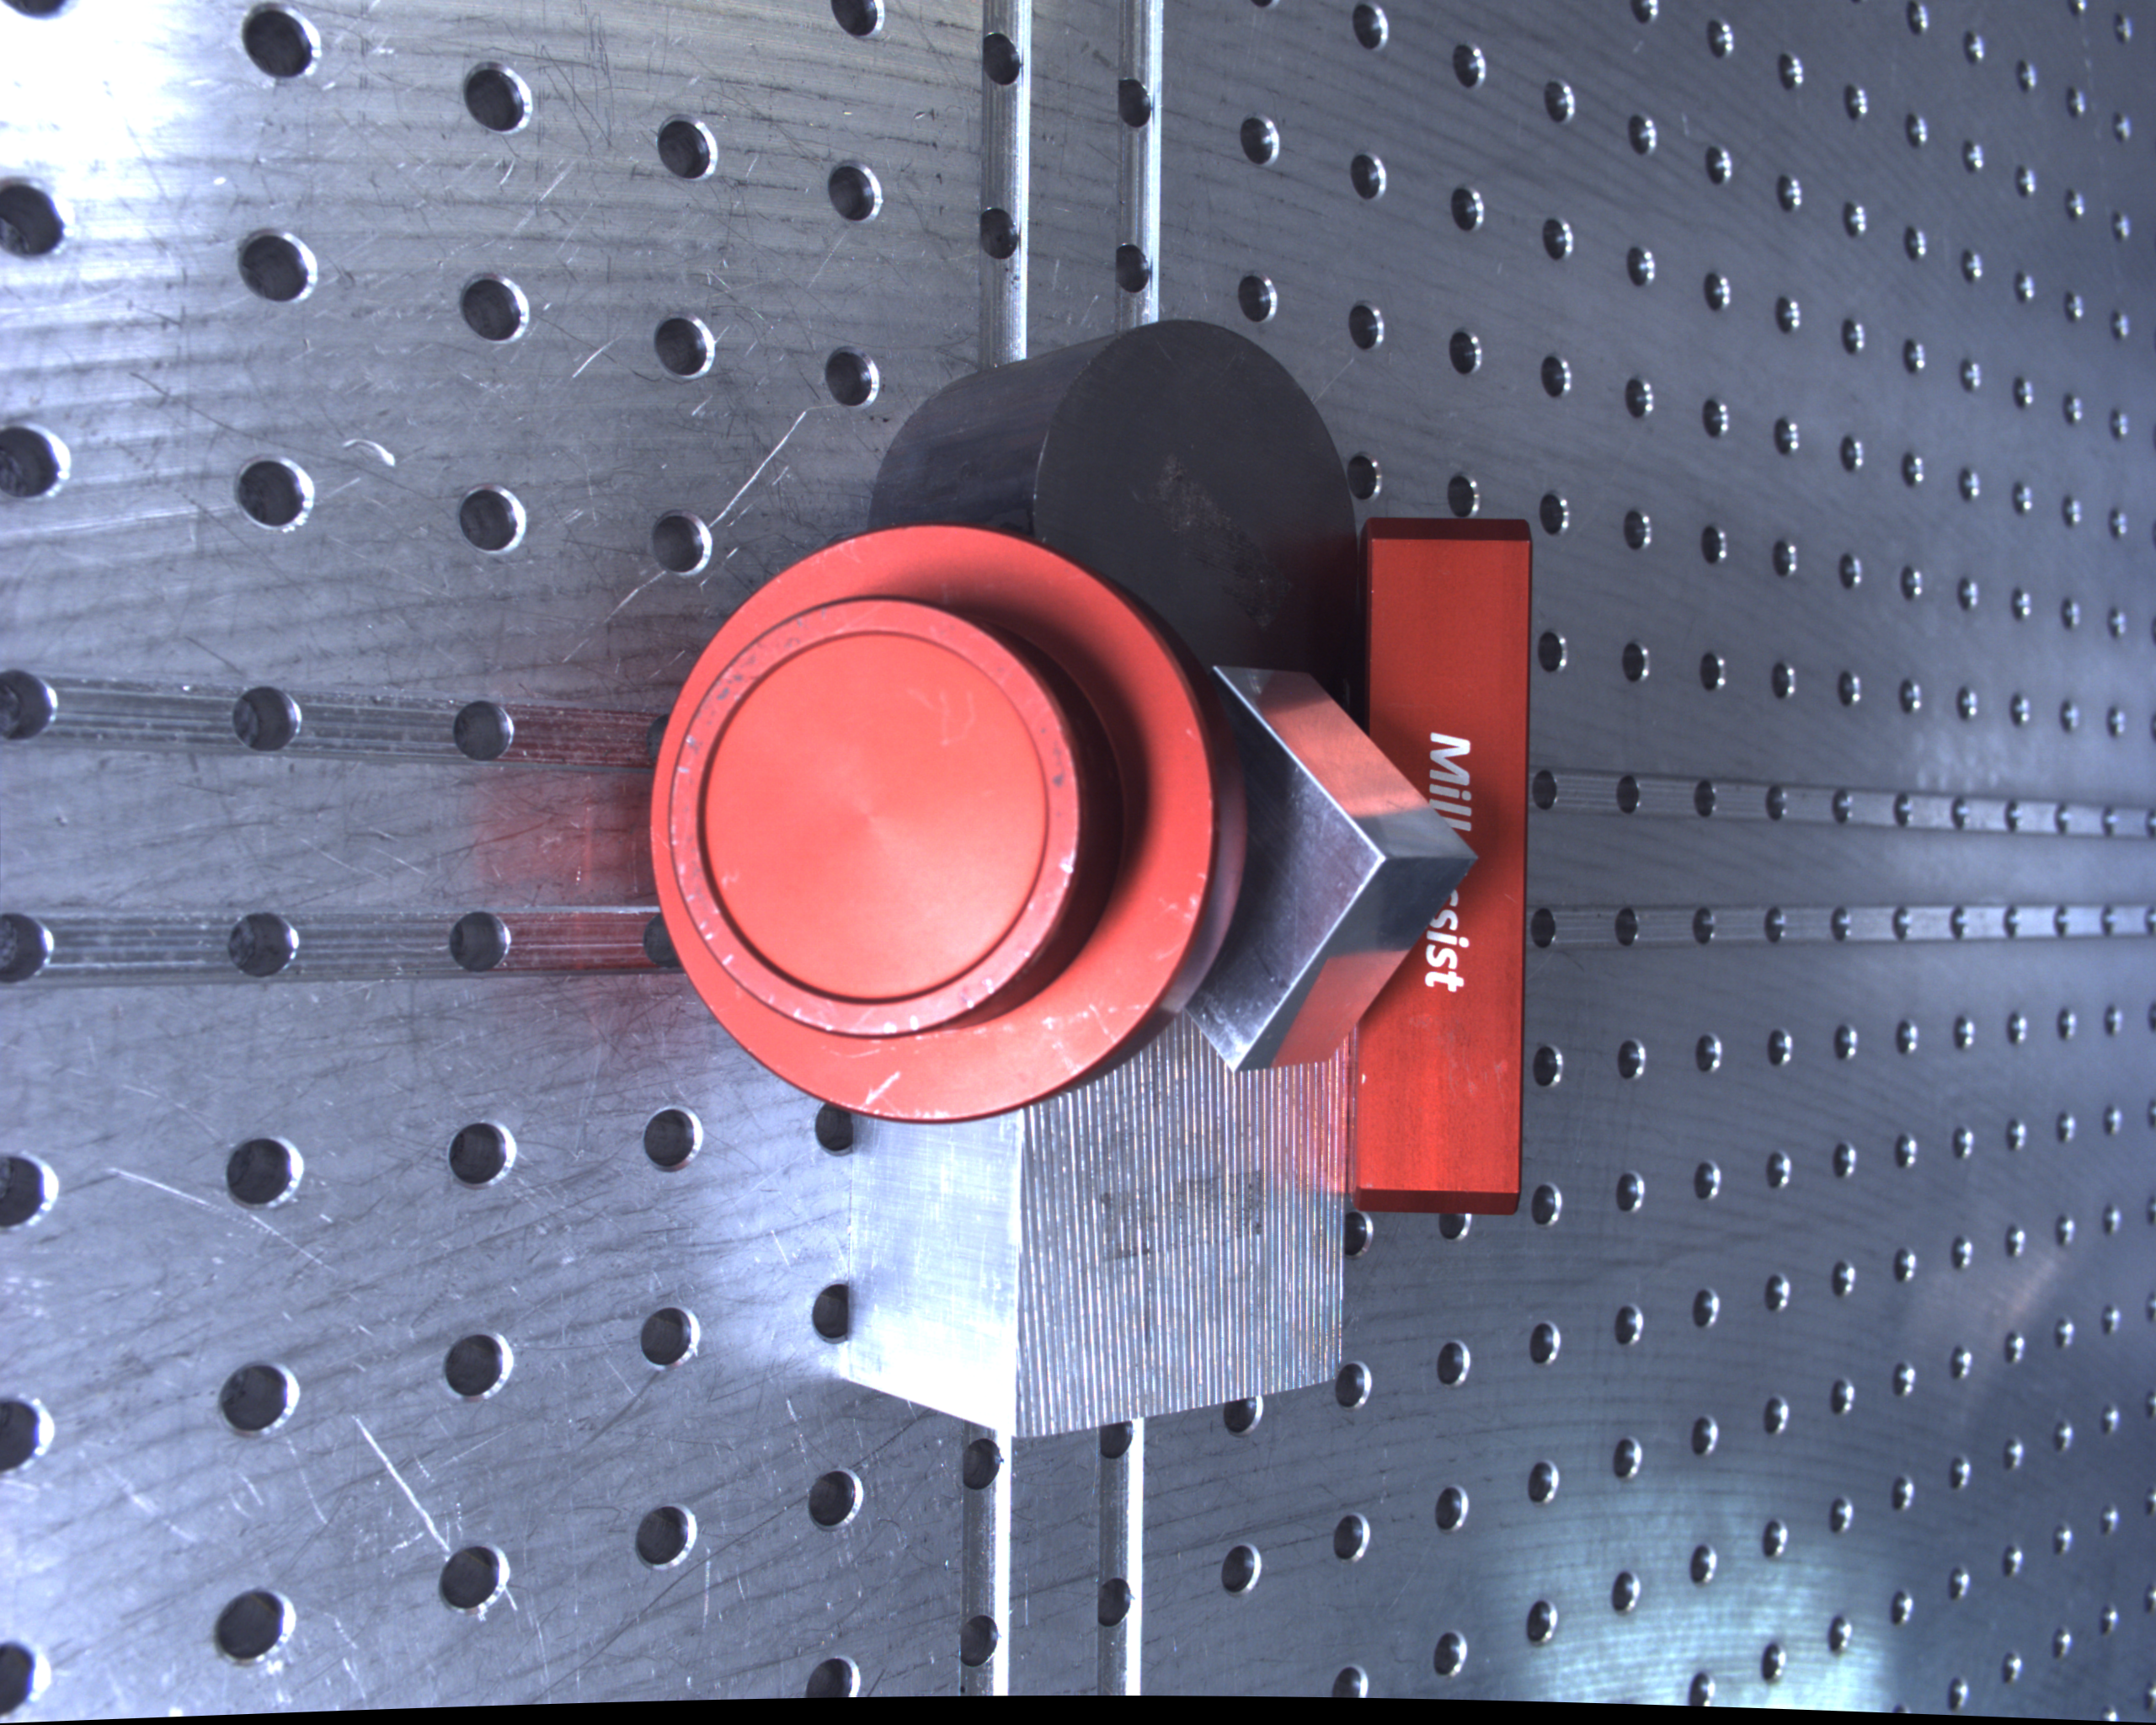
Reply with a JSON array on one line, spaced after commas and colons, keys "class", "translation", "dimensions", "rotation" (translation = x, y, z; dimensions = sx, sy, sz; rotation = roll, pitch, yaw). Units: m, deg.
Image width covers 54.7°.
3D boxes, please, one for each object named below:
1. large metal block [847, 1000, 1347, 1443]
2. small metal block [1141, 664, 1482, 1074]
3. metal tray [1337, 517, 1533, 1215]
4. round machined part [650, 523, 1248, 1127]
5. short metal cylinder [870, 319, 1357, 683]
[{"class": "large metal block", "translation": [0.005, 0.059, 0.397], "dimensions": [0.081, 0.050, 0.080], "rotation": [3, 88, -40]}, {"class": "small metal block", "translation": [0.034, 0.001, 0.366], "dimensions": [0.025, 0.050, 0.050], "rotation": [0, 133, -43]}, {"class": "metal tray", "translation": [0.070, 0.001, 0.427], "dimensions": [0.030, 0.090, 0.129], "rotation": [1, 89, 3]}, {"class": "round machined part", "translation": [-0.025, -0.006, 0.335], "dimensions": [0.042, 0.098, 0.097], "rotation": [4, 87, -73]}, {"class": "short metal cylinder", "translation": [0.008, -0.059, 0.398], "dimensions": [0.081, 0.050, 0.080], "rotation": [0, 90, -40]}]
